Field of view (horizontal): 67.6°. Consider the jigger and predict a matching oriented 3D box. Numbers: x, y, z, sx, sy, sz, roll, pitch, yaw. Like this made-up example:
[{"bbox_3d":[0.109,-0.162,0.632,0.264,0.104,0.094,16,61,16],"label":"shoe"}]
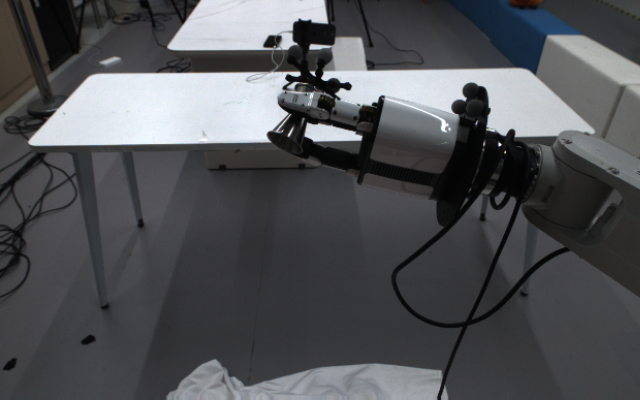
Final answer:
[{"bbox_3d":[-0.025,-0.094,0.540,0.043,0.043,0.071,20,73,23],"label":"jigger"}]
